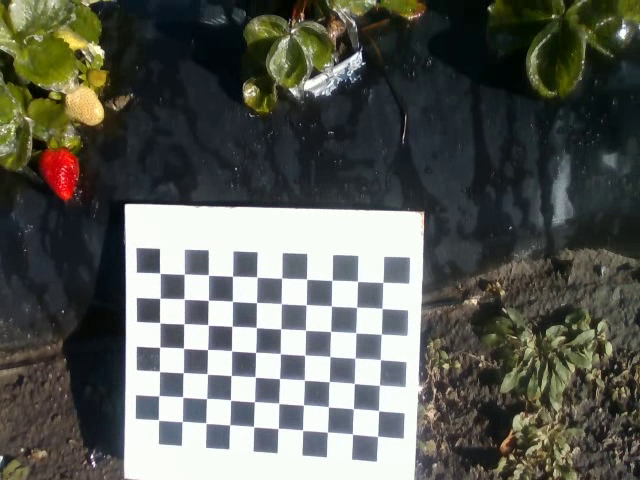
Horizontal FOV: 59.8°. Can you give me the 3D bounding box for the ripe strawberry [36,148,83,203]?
[{"bbox_3d":[-0.256,-0.061,0.532,0.041,0.052,0.040,-16,-6,6],"label":"ripe strawberry"}]
